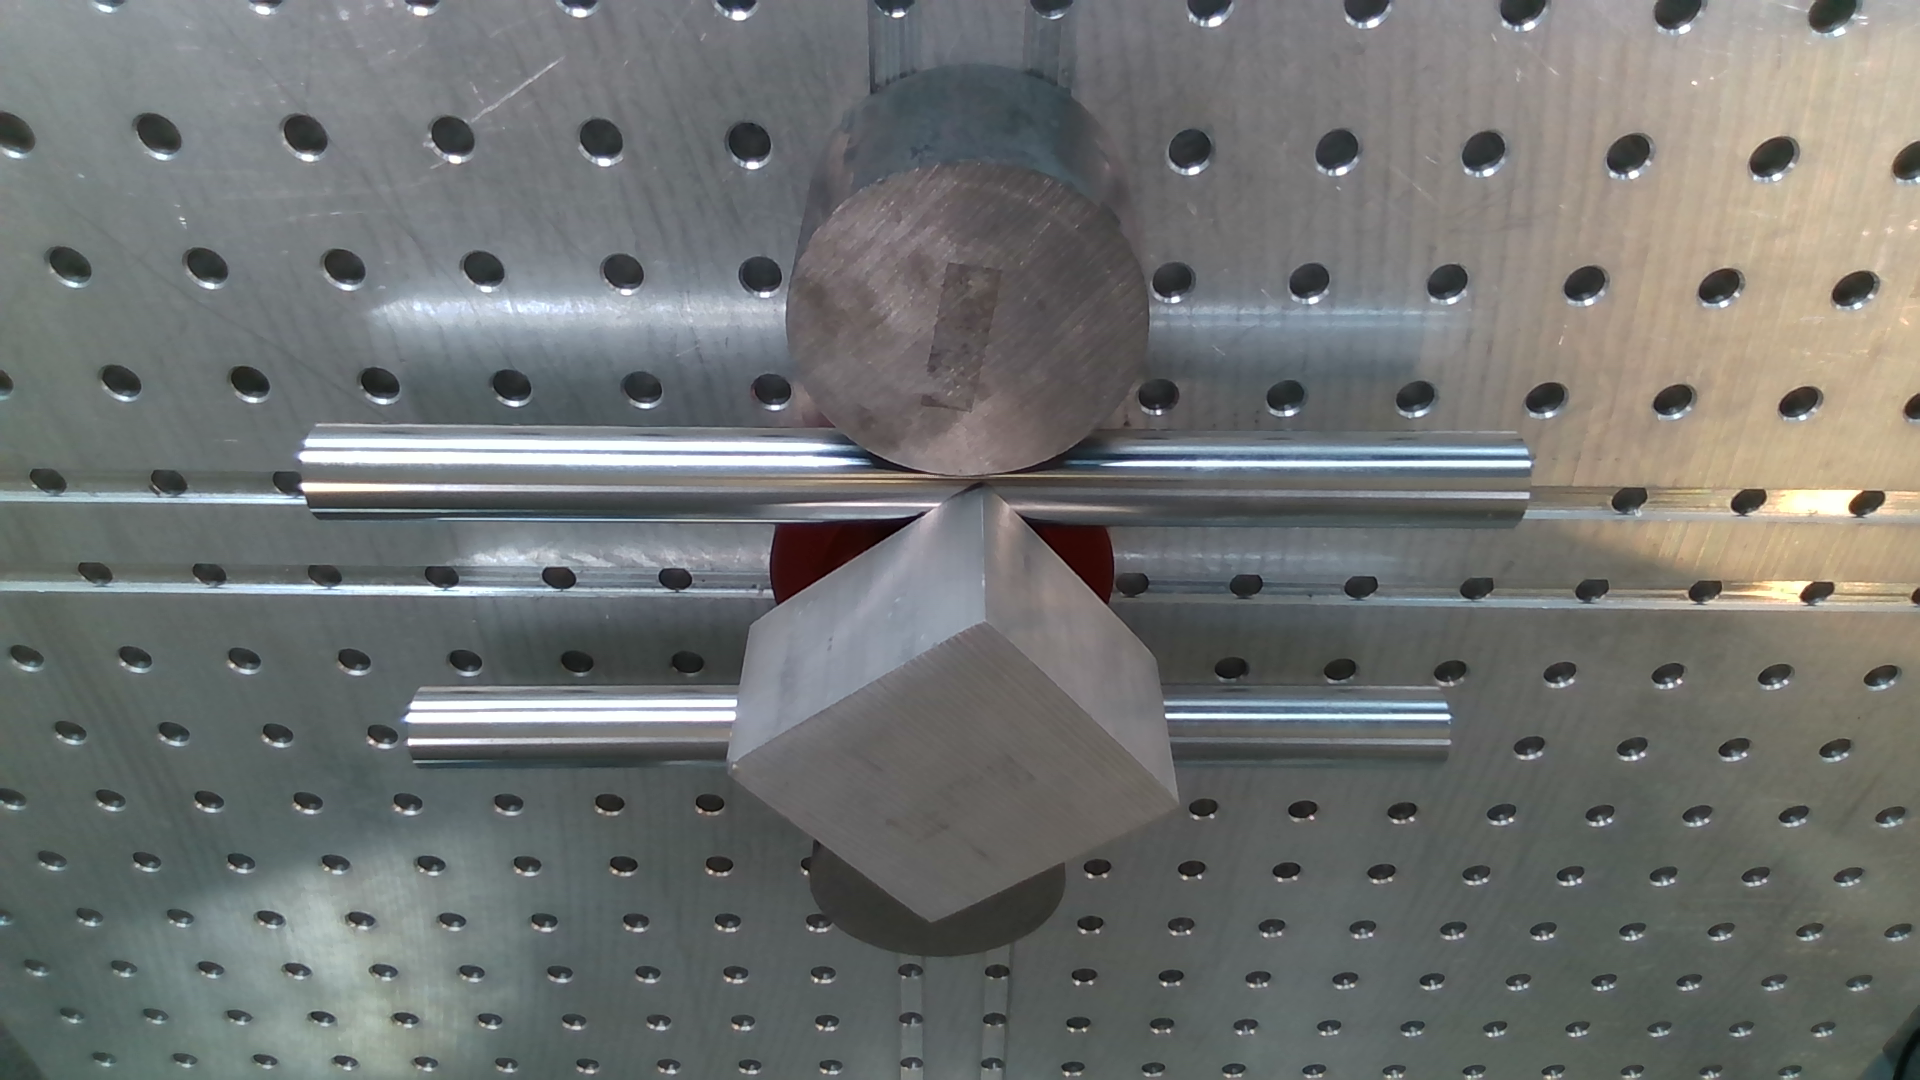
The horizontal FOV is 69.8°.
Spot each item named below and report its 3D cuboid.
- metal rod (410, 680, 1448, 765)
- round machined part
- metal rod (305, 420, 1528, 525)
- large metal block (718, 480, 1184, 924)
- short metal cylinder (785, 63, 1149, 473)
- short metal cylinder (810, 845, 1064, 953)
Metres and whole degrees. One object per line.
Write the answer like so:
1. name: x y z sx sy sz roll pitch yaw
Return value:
1. metal rod: -0.009 0.054 0.411 0.300 0.025 0.025 0 130 0
2. round machined part: -0.005 0.010 0.390 0.098 0.042 0.098 0 130 0
3. metal rod: -0.010 -0.017 0.350 0.300 0.025 0.025 0 130 0
4. large metal block: -0.001 0.044 0.351 0.080 0.050 0.080 -31 124 24
5. short metal cylinder: 0.002 -0.063 0.323 0.080 0.050 0.080 0 130 0
6. short metal cylinder: -0.007 0.091 0.452 0.080 0.050 0.080 0 130 0
